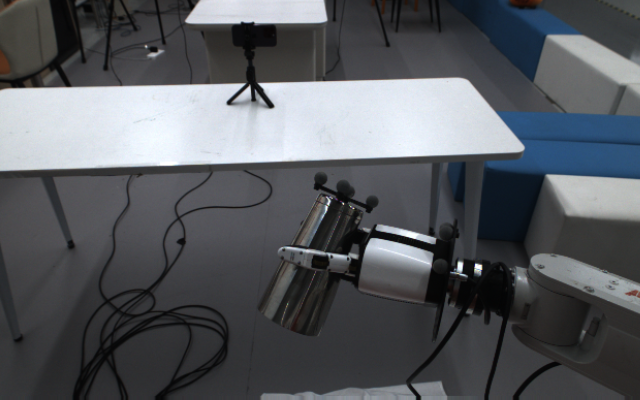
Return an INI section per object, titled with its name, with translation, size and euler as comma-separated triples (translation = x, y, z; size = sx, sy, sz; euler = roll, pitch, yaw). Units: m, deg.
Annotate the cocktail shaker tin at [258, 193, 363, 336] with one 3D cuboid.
[cocktail shaker tin]
translation = -0.004, 0.078, 0.641
size = 0.093, 0.170, 0.093
euler = 23, 0, 0
